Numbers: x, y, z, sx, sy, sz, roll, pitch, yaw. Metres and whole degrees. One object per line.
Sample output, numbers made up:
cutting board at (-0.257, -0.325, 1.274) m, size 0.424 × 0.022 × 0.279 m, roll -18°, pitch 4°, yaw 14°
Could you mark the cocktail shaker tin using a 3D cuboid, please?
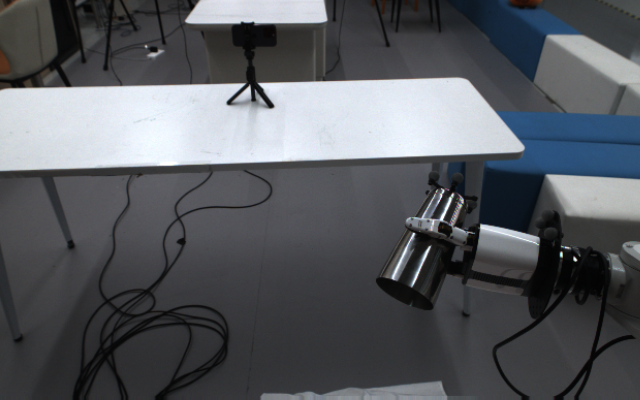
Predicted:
cocktail shaker tin at (0.164, 0.064, 0.730) m, size 0.093 × 0.093 × 0.170 m, roll 20°, pitch 67°, yaw 23°
